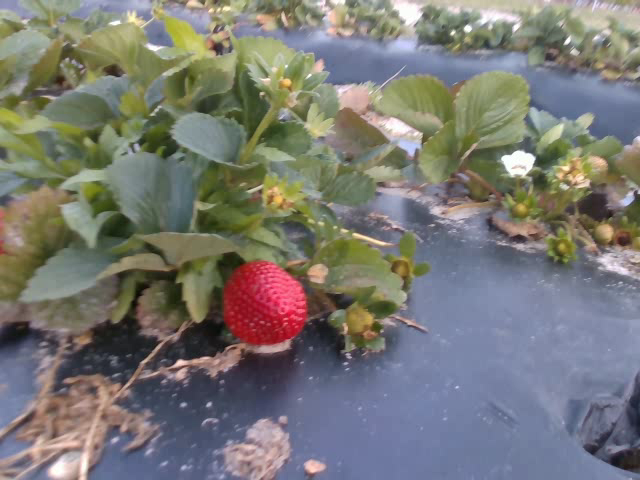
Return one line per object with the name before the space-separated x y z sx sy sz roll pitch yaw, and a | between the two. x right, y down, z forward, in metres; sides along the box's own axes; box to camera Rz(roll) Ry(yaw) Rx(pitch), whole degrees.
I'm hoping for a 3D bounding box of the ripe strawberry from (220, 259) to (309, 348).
ripe strawberry | -0.025 0.030 0.277 0.043 0.047 0.046 -31 20 -18
